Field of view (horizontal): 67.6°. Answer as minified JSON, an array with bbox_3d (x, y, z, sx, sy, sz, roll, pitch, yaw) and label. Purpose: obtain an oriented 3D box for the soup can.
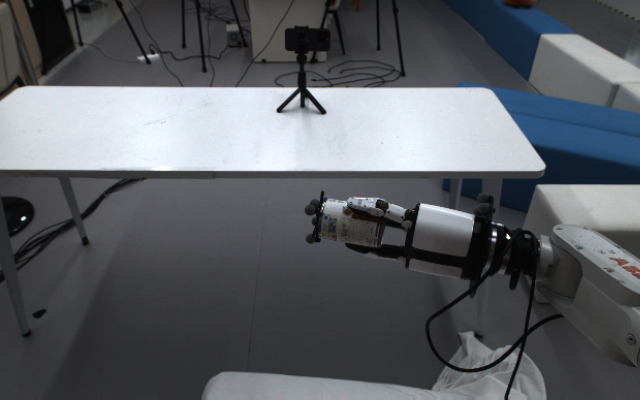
[{"bbox_3d":[0.055,0.037,0.778,0.101,0.067,0.067,9,35,9],"label":"soup can"}]
